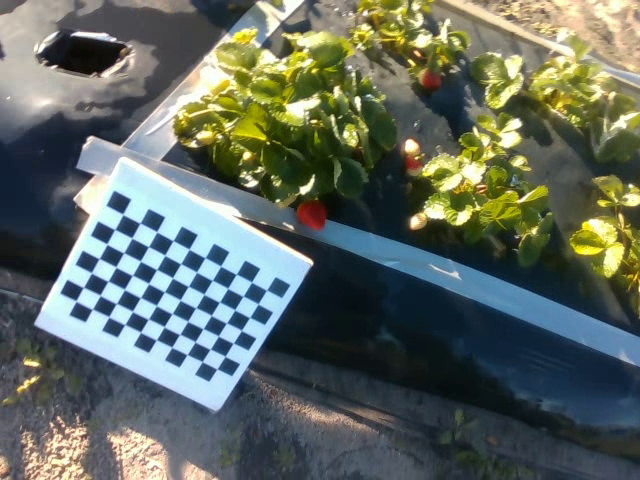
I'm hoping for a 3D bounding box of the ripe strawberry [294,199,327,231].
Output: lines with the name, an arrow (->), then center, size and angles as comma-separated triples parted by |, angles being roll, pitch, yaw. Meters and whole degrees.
ripe strawberry -> -0.013, -0.037, 0.854 | 0.045, 0.064, 0.049 | -34, -48, 8
